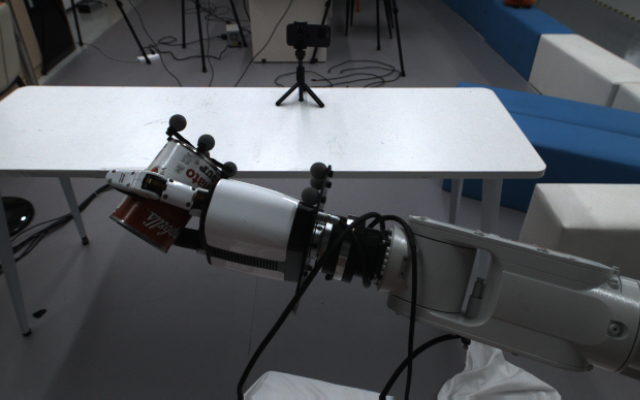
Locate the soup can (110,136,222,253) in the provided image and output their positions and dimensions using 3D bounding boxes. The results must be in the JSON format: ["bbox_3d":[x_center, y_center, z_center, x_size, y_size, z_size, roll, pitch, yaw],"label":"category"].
[{"bbox_3d":[-0.158,-0.003,0.505,0.067,0.067,0.101,23,71,27],"label":"soup can"}]
